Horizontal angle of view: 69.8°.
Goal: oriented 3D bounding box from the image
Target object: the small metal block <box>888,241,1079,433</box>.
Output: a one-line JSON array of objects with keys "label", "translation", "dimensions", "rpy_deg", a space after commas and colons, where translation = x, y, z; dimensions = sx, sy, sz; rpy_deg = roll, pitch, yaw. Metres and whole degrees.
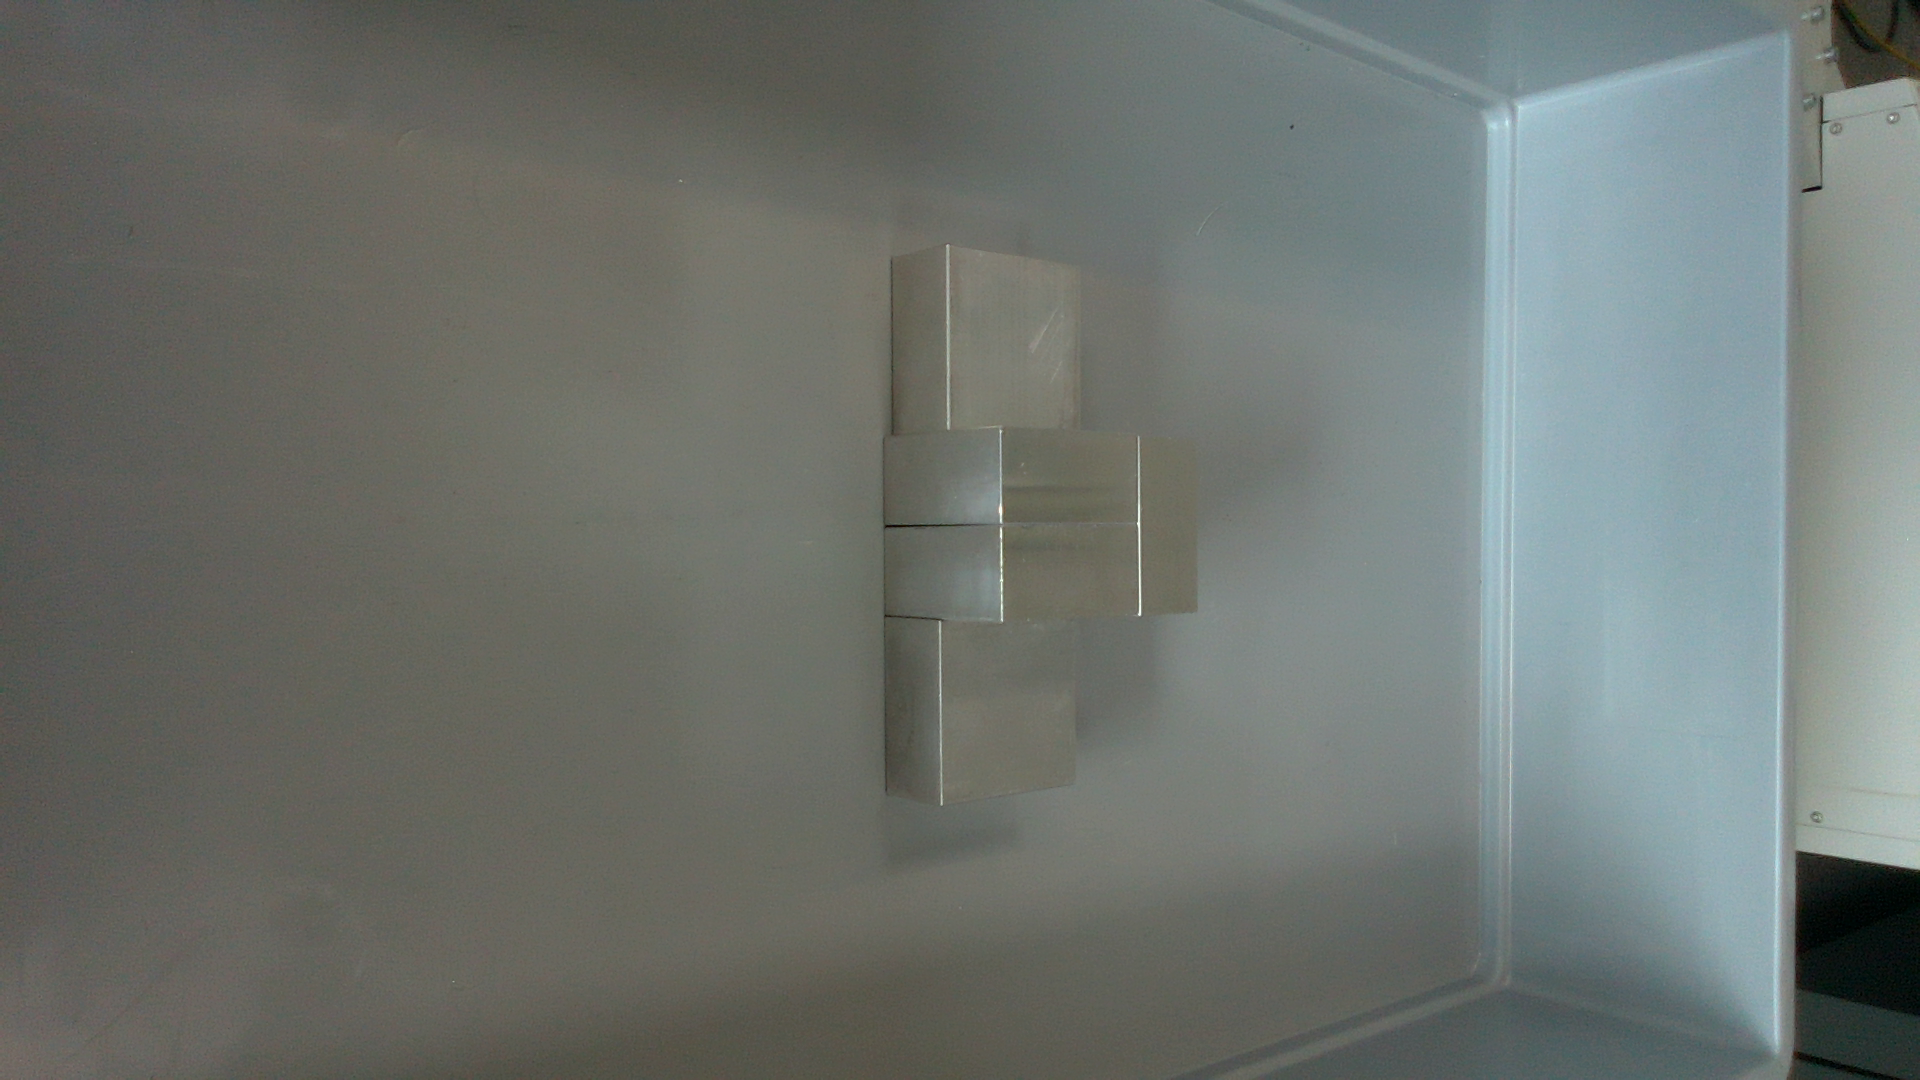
[{"label": "small metal block", "translation": [0.007, -0.055, 0.393], "dimensions": [0.050, 0.025, 0.050], "rpy_deg": [0, 90, -40]}]

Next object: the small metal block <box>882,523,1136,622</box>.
[{"label": "small metal block", "translation": [0.013, 0.008, 0.382], "dimensions": [0.050, 0.050, 0.025], "rpy_deg": [0, 90, -40]}]

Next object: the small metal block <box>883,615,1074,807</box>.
[{"label": "small metal block", "translation": [0.006, 0.046, 0.392], "dimensions": [0.050, 0.025, 0.050], "rpy_deg": [0, 90, -40]}]

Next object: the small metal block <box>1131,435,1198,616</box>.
[{"label": "small metal block", "translation": [0.043, -0.004, 0.406], "dimensions": [0.025, 0.050, 0.050], "rpy_deg": [0, 90, -40]}]

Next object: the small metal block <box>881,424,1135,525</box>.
[{"label": "small metal block", "translation": [0.013, -0.017, 0.382], "dimensions": [0.050, 0.050, 0.025], "rpy_deg": [0, 90, -40]}]
